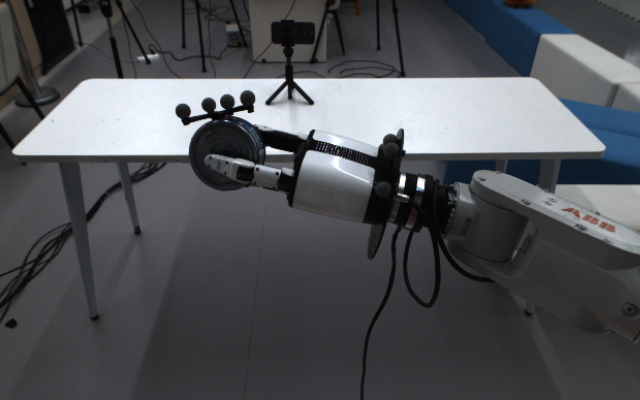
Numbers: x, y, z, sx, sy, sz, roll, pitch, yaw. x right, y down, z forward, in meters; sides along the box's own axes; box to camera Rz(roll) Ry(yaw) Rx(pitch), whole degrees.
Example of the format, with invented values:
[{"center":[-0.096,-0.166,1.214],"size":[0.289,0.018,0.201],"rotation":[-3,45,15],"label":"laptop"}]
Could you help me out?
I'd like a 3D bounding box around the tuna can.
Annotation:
[{"center":[-0.106,-0.049,0.570],"size":[0.085,0.085,0.034],"rotation":[6,18,5],"label":"tuna can"}]
